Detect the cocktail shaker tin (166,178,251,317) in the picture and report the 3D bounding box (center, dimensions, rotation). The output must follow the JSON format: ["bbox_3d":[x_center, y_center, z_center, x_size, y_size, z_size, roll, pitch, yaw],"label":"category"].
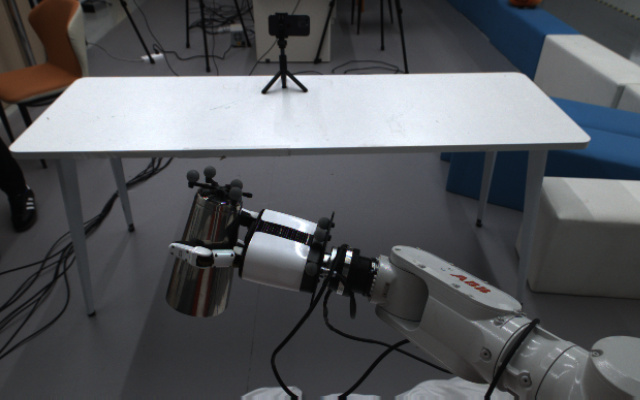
[{"bbox_3d":[-0.162,0.070,0.696,0.093,0.170,0.093,14,18,-5],"label":"cocktail shaker tin"}]
